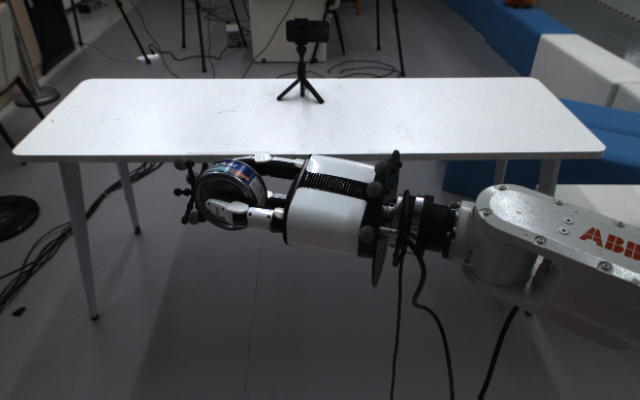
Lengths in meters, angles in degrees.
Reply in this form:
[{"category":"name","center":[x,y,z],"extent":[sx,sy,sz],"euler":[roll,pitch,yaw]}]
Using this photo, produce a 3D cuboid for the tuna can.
[{"category":"tuna can","center":[-0.108,-0.007,0.594],"extent":[0.085,0.085,0.034],"euler":[9,33,10]}]
